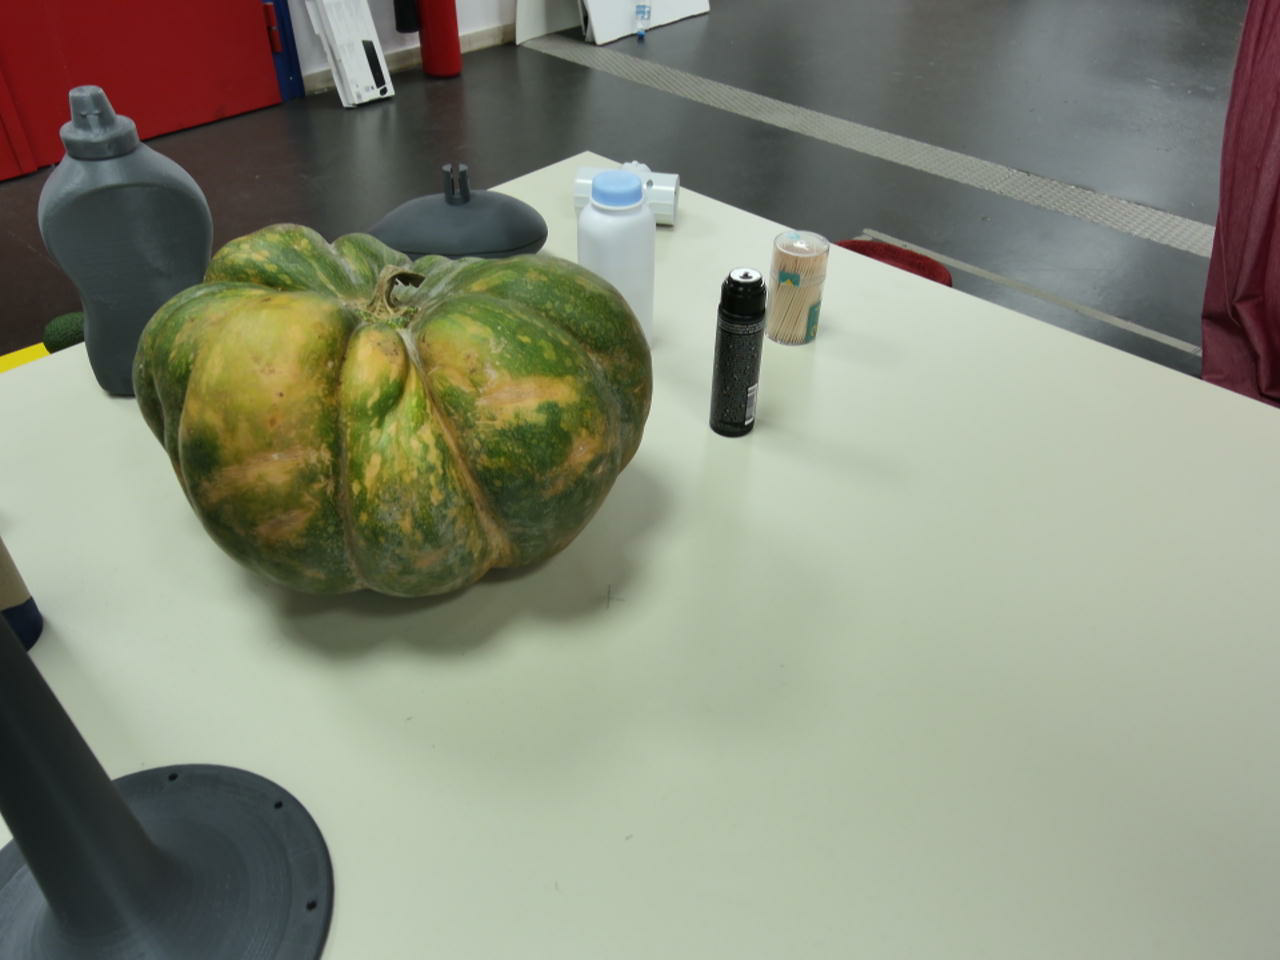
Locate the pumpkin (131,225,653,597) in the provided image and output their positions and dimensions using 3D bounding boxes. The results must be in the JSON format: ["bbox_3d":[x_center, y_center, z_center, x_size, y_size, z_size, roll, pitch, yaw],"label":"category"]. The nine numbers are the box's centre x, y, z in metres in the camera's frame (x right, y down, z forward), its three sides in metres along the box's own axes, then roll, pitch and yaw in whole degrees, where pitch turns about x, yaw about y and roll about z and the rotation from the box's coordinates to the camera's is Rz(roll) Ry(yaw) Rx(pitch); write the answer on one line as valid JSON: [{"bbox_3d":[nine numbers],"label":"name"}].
[{"bbox_3d":[-0.130,-0.046,0.535,0.270,0.173,0.237,-7,38,-9],"label":"pumpkin"}]
